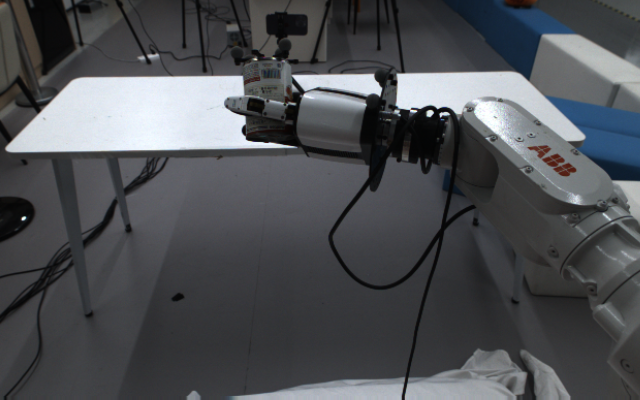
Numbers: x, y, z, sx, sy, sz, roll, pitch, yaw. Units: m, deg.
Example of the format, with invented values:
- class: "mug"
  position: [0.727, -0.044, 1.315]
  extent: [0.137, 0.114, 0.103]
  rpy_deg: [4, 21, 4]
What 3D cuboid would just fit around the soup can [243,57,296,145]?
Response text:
- class: "soup can"
  position: [-0.069, -0.133, 0.654]
  extent: [0.067, 0.101, 0.067]
  rpy_deg: [-3, -1, 0]
